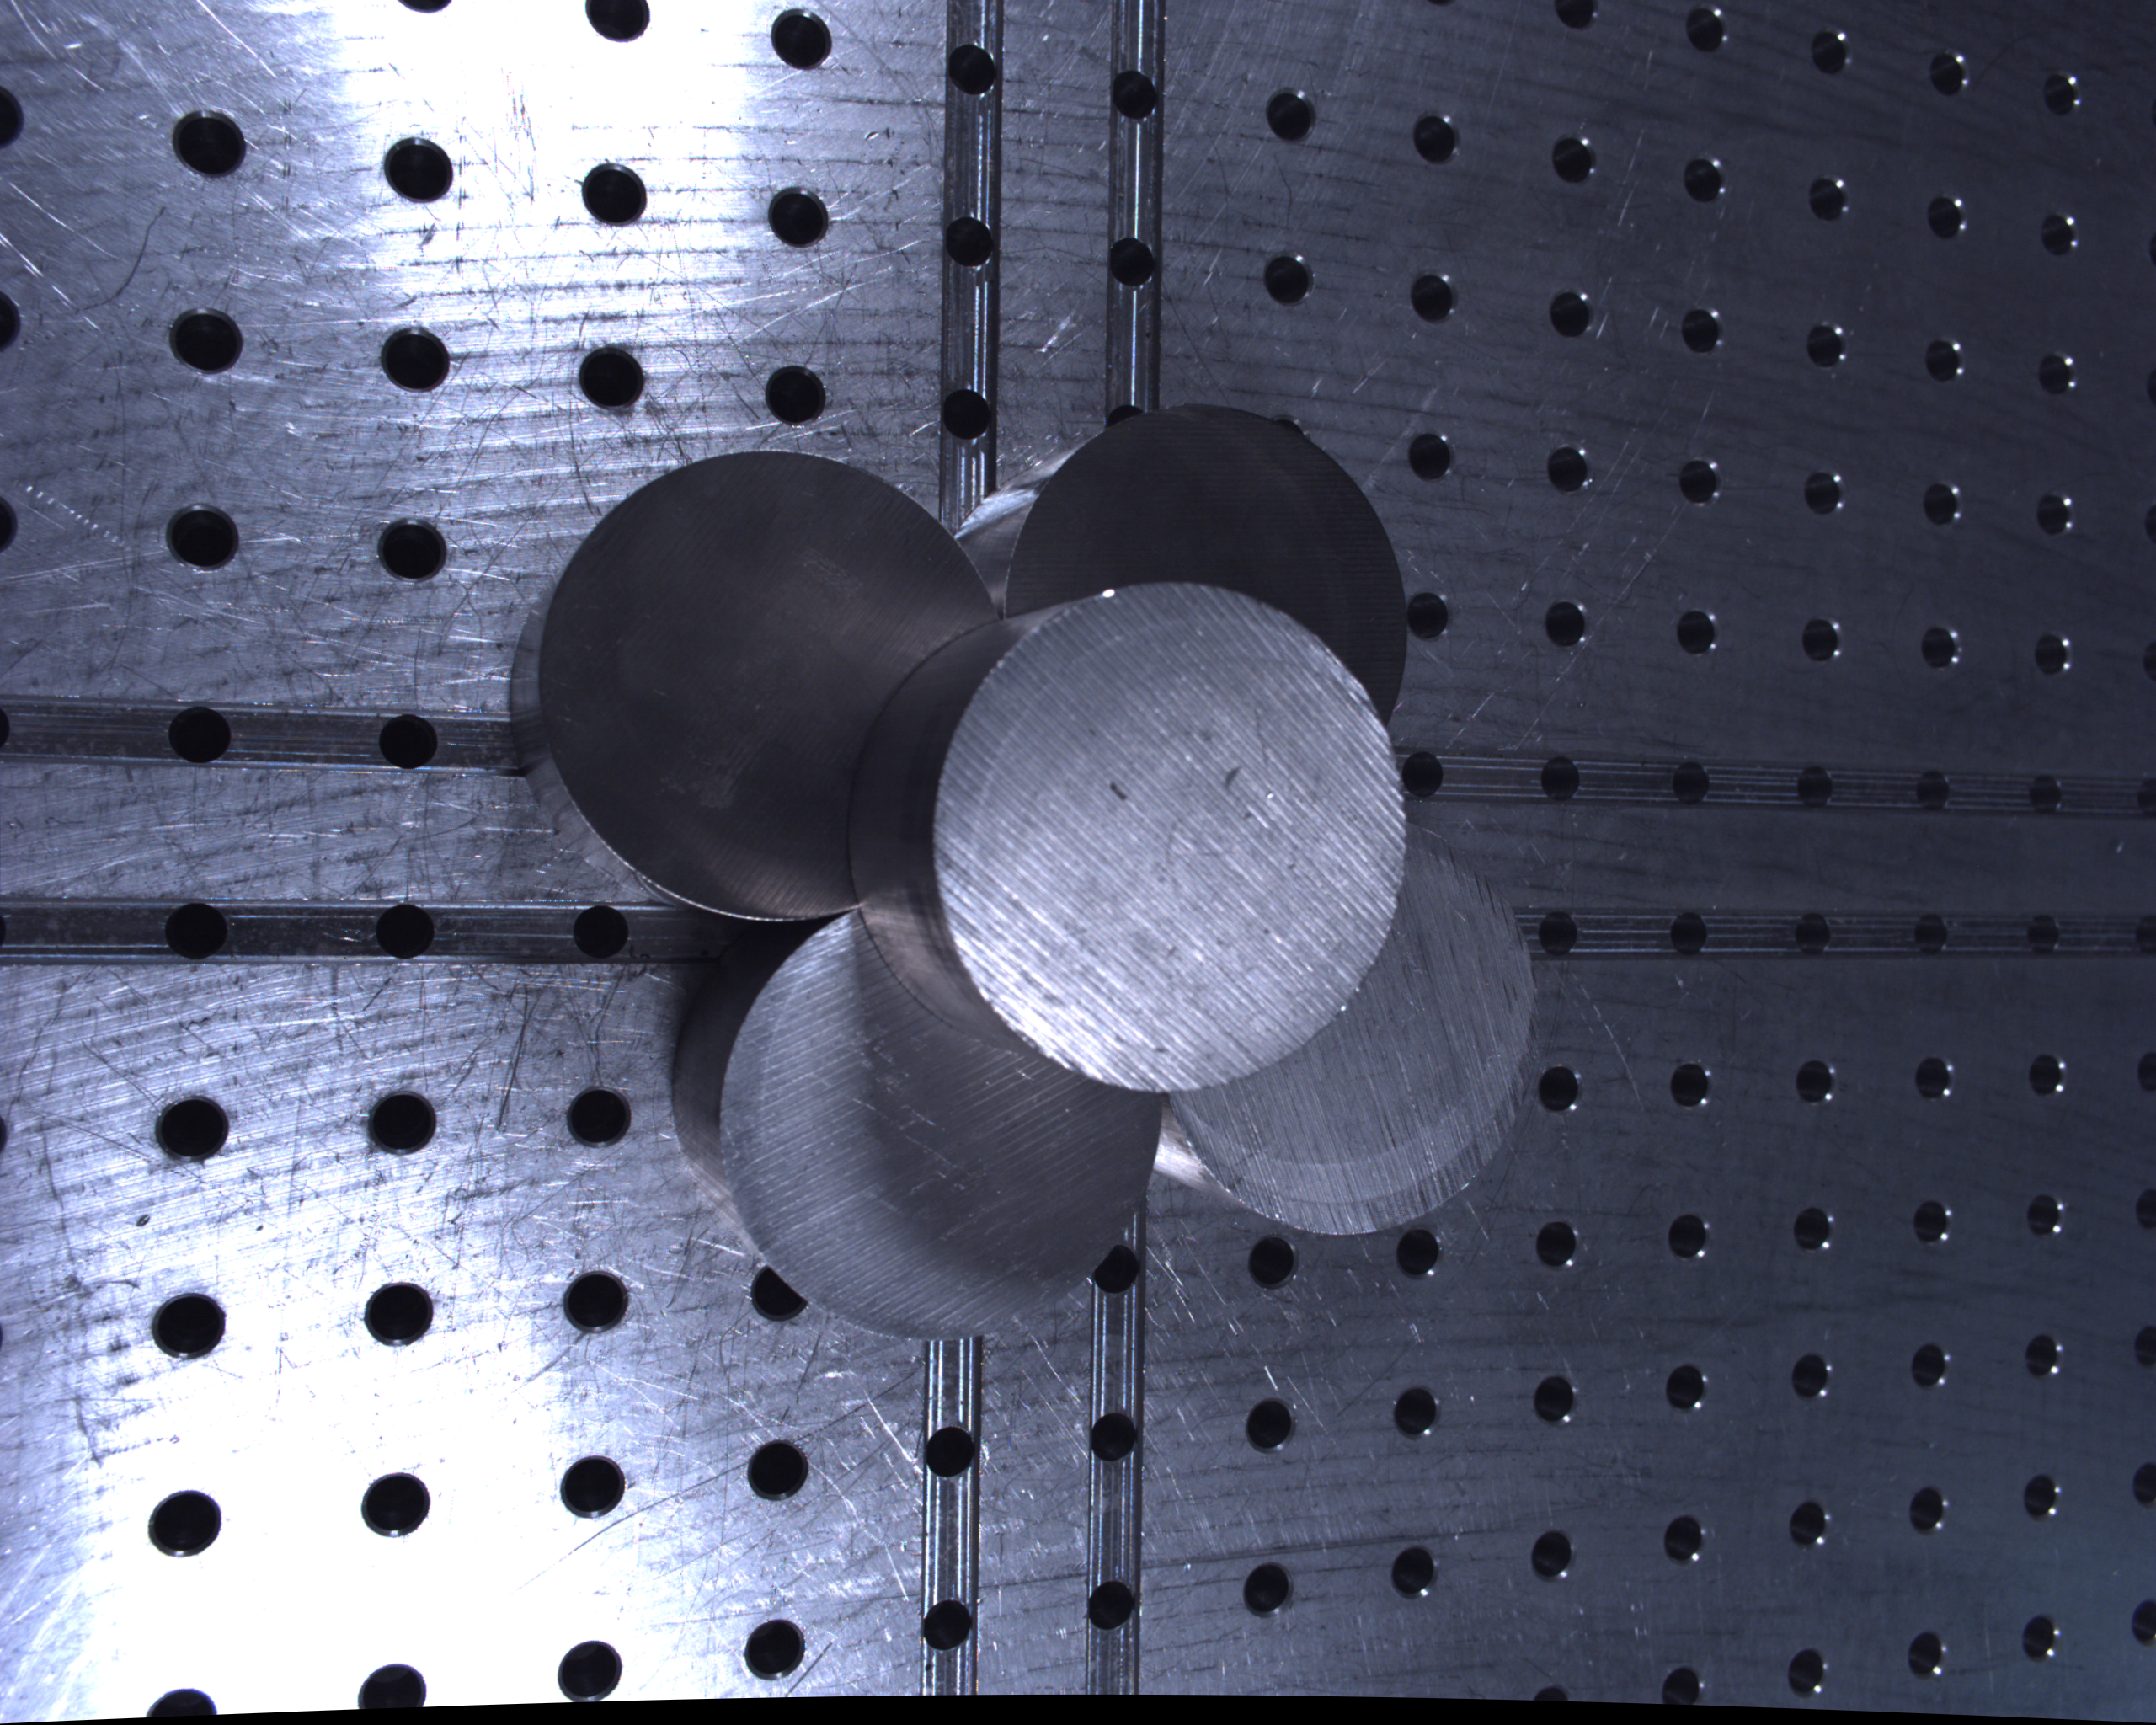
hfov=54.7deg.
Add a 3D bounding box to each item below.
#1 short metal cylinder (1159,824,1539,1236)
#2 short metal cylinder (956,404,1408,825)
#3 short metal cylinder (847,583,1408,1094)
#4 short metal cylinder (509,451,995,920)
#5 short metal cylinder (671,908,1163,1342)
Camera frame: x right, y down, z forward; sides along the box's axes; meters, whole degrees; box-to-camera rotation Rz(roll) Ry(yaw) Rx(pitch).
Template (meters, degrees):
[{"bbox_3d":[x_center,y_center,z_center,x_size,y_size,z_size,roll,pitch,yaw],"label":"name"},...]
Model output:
[{"bbox_3d":[0.044,0.030,0.416,0.081,0.050,0.079,0,90,-21],"label":"short metal cylinder"},{"bbox_3d":[0.016,-0.044,0.406,0.081,0.050,0.079,0,90,-21],"label":"short metal cylinder"},{"bbox_3d":[0.007,-0.004,0.348,0.081,0.050,0.079,-1,92,-21],"label":"short metal cylinder"},{"bbox_3d":[-0.059,-0.030,0.377,0.081,0.050,0.079,0,90,-21],"label":"short metal cylinder"},{"bbox_3d":[-0.031,0.044,0.388,0.081,0.050,0.079,0,90,-21],"label":"short metal cylinder"}]
